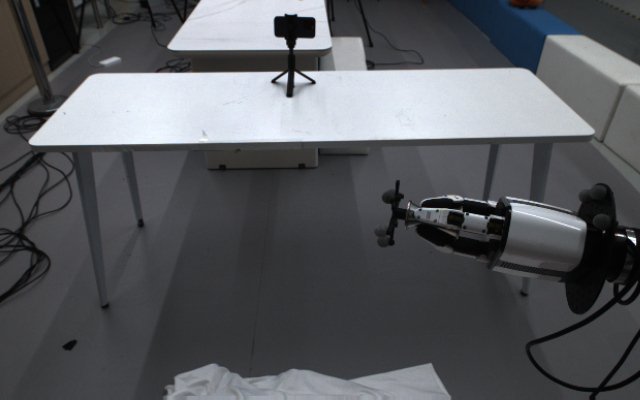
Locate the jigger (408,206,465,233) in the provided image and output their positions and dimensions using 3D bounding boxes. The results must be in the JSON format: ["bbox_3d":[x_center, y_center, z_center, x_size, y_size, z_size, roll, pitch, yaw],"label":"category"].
[{"bbox_3d":[0.153,0.020,0.627,0.071,0.043,0.043,8,35,15],"label":"jigger"}]
